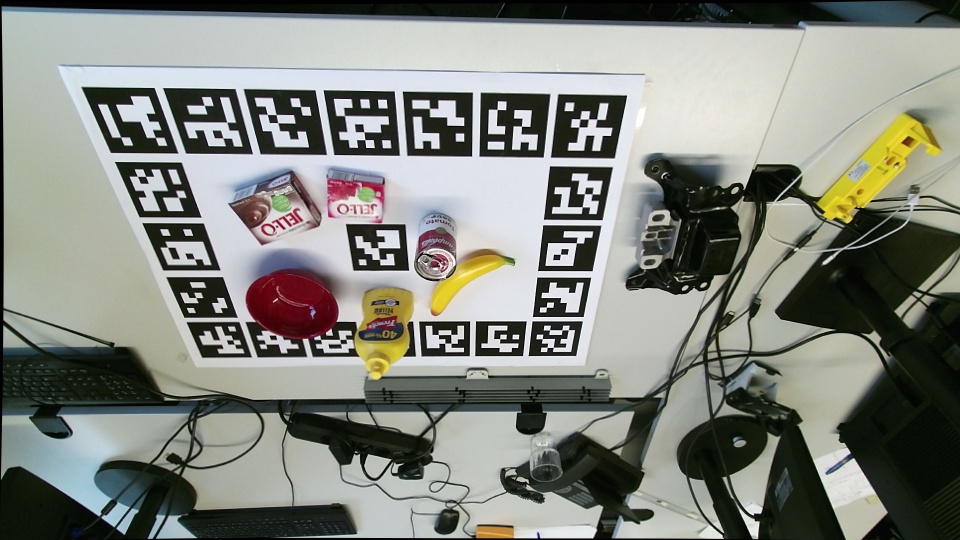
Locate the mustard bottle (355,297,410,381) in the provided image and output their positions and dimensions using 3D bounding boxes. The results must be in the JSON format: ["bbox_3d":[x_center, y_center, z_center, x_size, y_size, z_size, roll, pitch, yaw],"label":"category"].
[{"bbox_3d":[-0.177,0.131,0.943,0.096,0.190,0.058,1,130,-3],"label":"mustard bottle"}]

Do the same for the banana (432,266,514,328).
[{"bbox_3d":[-0.031,0.047,0.994,0.197,0.038,0.074,-39,129,25],"label":"banana"}]

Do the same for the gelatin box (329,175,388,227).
[{"bbox_3d":[-0.198,-0.111,0.870,0.090,0.030,0.073,6,124,-7],"label":"gelatin box"}]

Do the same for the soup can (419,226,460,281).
[{"bbox_3d":[-0.067,-0.018,0.891,0.068,0.101,0.068,0,129,0],"label":"soup can"}]

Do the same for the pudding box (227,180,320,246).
[{"bbox_3d":[-0.336,-0.087,0.878,0.114,0.038,0.090,-19,121,12],"label":"pudding box"}]

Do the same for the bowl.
[{"bbox_3d":[-0.350,0.066,0.989,0.162,0.055,0.162,-2,128,-2],"label":"bowl"}]
